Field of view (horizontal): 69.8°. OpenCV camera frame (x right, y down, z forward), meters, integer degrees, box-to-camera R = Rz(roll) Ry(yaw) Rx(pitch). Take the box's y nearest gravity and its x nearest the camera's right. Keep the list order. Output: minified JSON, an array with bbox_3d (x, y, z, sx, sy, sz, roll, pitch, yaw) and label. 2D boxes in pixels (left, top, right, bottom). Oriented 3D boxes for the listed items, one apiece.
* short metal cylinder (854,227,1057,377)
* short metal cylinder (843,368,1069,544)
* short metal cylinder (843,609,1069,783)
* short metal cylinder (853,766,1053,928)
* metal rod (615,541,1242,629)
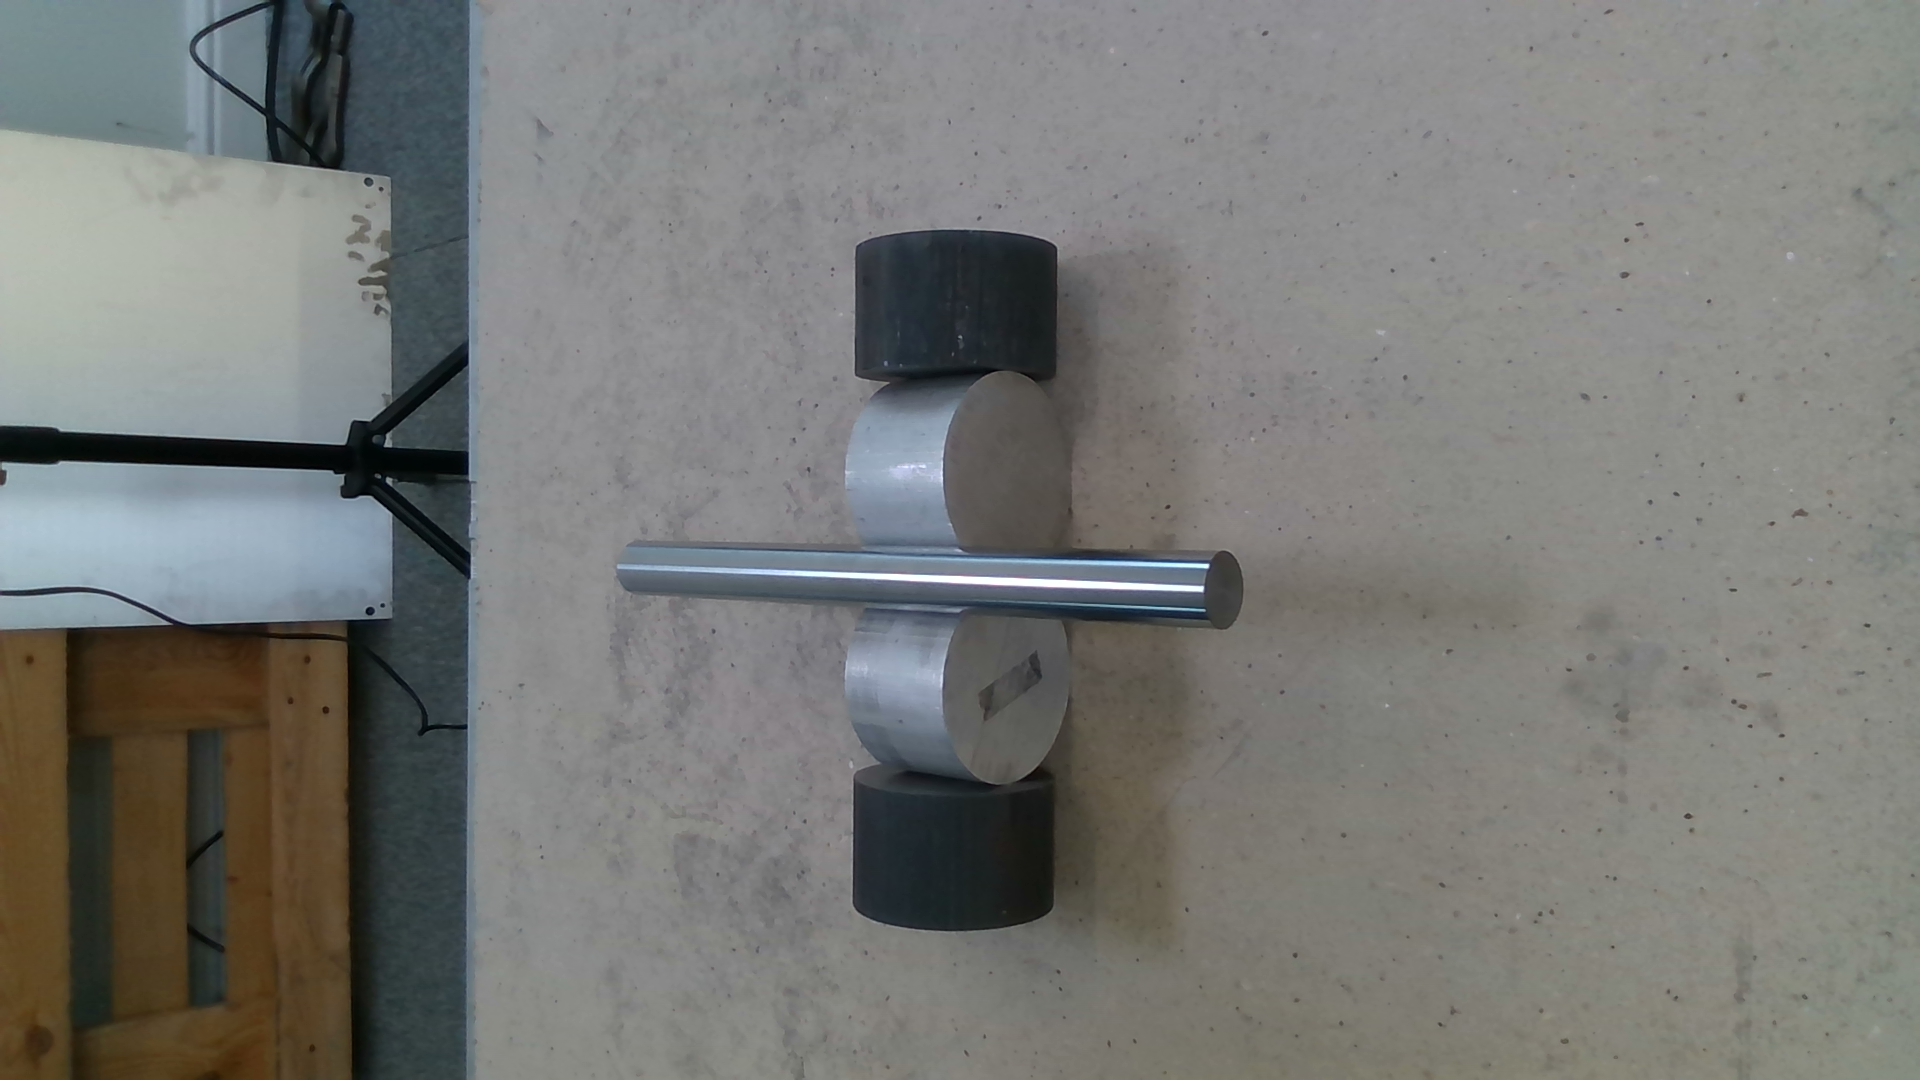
[{"bbox_3d":[-0.002,-0.091,0.547,0.080,0.080,0.050,1,91,40],"label":"short metal cylinder"},{"bbox_3d":[0.000,-0.026,0.547,0.050,0.080,0.080,1,91,40],"label":"short metal cylinder"},{"bbox_3d":[0.000,0.053,0.547,0.050,0.080,0.080,1,91,40],"label":"short metal cylinder"},{"bbox_3d":[-0.003,0.119,0.551,0.080,0.080,0.050,1,91,40],"label":"short metal cylinder"},{"bbox_3d":[-0.032,0.014,0.529,0.300,0.025,0.025,1,91,40],"label":"metal rod"}]
